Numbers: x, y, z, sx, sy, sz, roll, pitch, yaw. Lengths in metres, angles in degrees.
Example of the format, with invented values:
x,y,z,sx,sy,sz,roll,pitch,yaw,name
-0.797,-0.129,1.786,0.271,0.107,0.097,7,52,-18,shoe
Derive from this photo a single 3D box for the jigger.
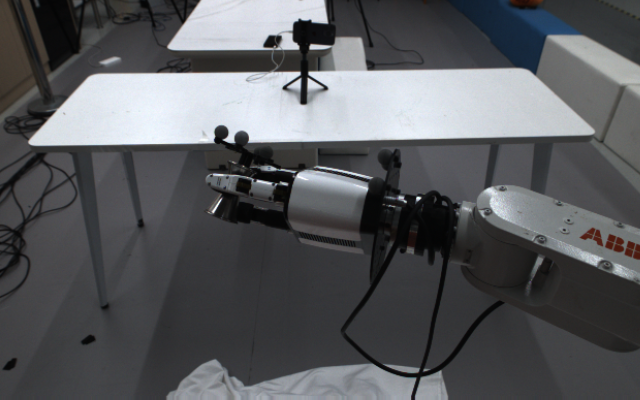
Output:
x,y,z,sx,sy,sz,roll,pitch,yaw,name
-0.108,-0.011,0.587,0.043,0.071,0.043,24,-2,1,jigger
